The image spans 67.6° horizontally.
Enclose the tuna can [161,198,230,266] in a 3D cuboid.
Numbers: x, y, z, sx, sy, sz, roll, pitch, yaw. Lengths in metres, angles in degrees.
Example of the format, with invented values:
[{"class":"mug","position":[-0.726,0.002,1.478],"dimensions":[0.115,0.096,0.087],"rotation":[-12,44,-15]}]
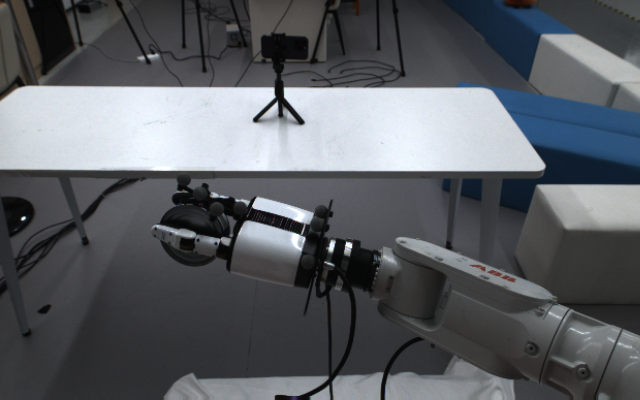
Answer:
[{"class":"tuna can","position":[-0.160,0.041,0.629],"dimensions":[0.085,0.085,0.034],"rotation":[7,16,7]}]
